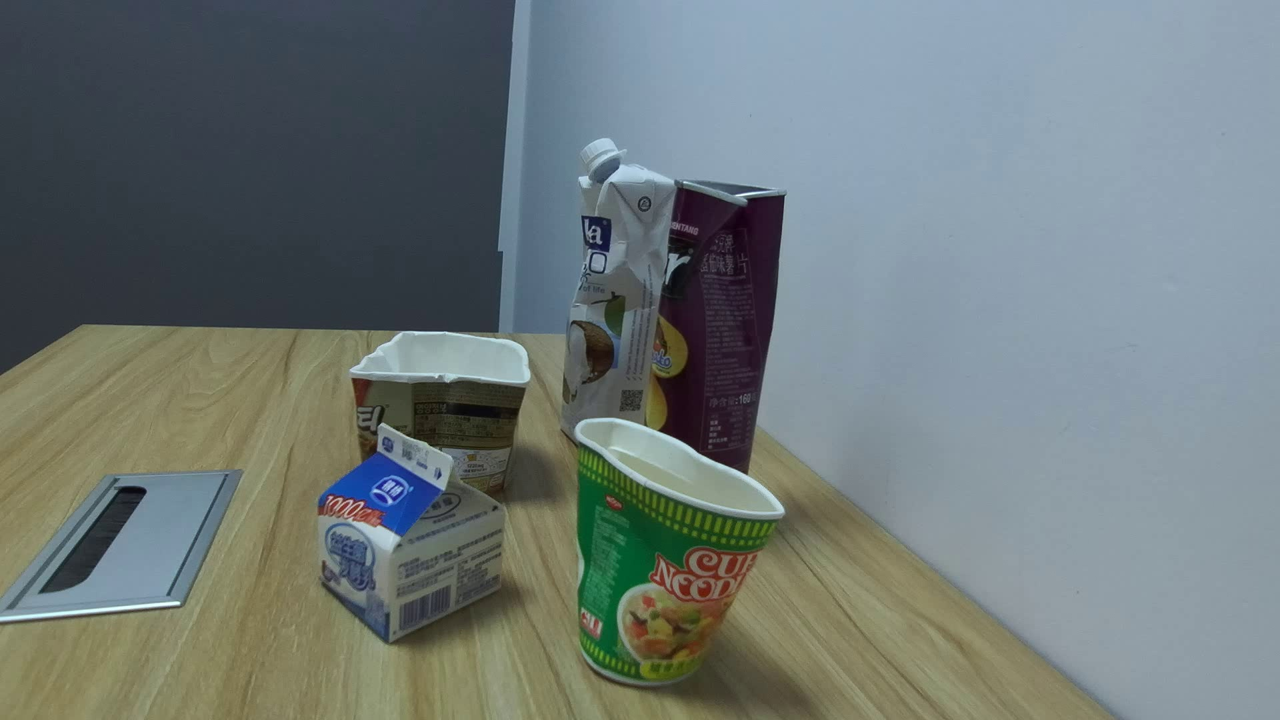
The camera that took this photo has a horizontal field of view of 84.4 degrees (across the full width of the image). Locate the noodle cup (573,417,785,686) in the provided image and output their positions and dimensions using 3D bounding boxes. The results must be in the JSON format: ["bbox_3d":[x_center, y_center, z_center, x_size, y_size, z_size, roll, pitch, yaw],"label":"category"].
[{"bbox_3d":[0.006,0.097,0.359,0.070,0.111,0.114,-1,18,-23],"label":"noodle cup"}]

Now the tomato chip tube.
[{"bbox_3d":[0.047,0.004,0.468,0.077,0.235,0.076,7,16,1],"label":"tomato chip tube"}]

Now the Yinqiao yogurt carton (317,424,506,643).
[{"bbox_3d":[-0.124,0.085,0.386,0.075,0.092,0.074,17,19,37],"label":"Yinqiao yogurt carton"}]

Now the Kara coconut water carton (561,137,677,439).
[{"bbox_3d":[-0.019,-0.048,0.590,0.078,0.255,0.083,2,16,-14],"label":"Kara coconut water carton"}]

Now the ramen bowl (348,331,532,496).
[{"bbox_3d":[-0.150,0.036,0.533,0.114,0.097,0.133,0,18,-16],"label":"ramen bowl"}]
